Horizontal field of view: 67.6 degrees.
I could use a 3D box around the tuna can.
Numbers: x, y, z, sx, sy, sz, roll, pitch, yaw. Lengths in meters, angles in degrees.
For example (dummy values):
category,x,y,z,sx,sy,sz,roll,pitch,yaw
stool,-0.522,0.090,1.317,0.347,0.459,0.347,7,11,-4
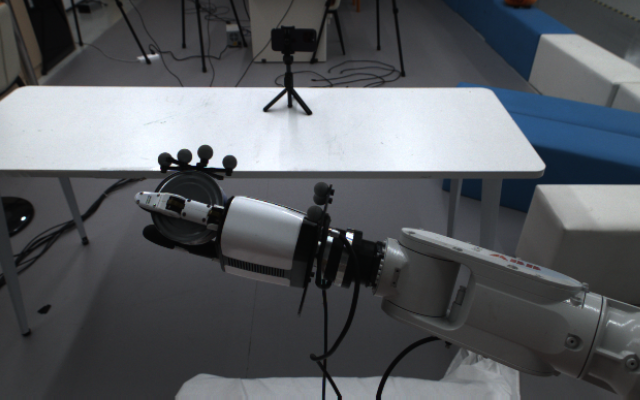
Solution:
category,x,y,z,sx,sy,sz,roll,pitch,yaw
tuna can,-0.151,0.010,0.572,0.085,0.034,0.085,-1,76,3
